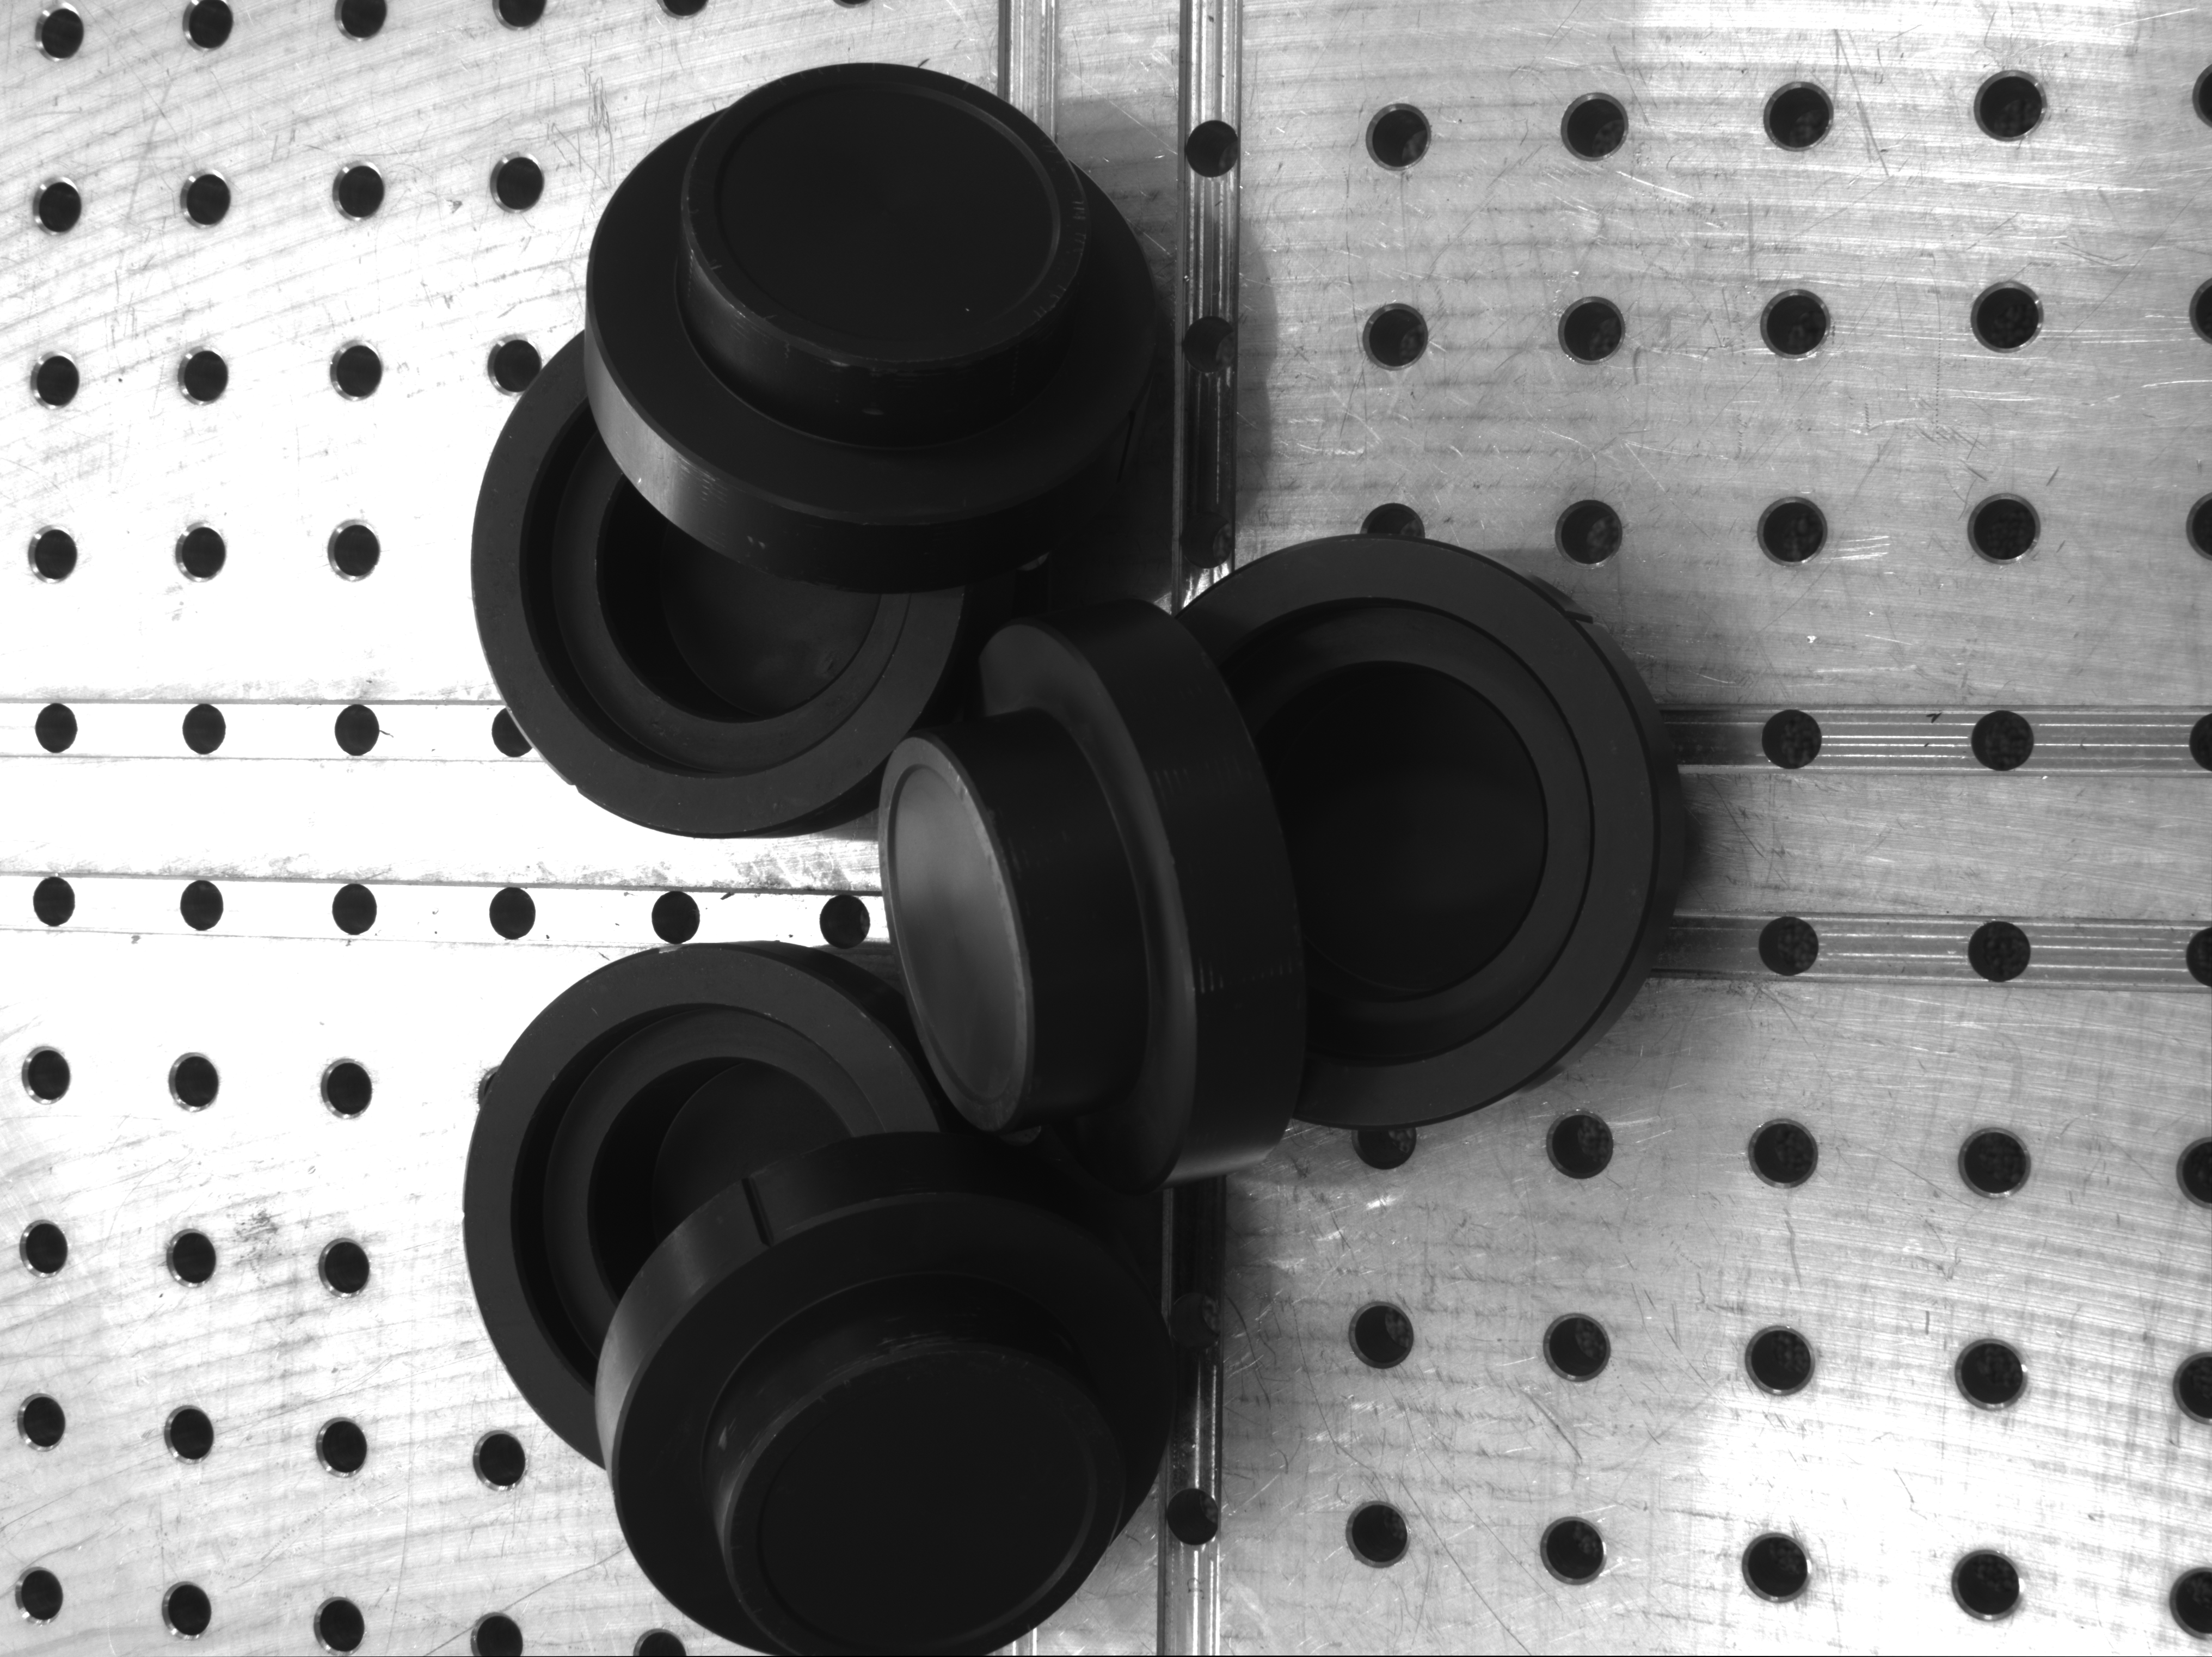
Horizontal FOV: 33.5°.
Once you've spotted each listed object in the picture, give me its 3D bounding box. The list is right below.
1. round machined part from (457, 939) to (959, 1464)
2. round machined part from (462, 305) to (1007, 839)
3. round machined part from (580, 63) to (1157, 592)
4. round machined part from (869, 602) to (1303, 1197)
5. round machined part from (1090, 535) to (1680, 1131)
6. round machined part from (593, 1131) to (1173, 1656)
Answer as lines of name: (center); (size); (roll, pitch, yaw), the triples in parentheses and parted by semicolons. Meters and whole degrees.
round machined part: (-0.064, 0.069, 0.663); (0.098, 0.042, 0.098); (0, 90, 20)
round machined part: (-0.063, -0.047, 0.662); (0.098, 0.042, 0.098); (0, 90, 20)
round machined part: (-0.039, -0.091, 0.625); (0.098, 0.042, 0.098); (5, 56, -7)
round machined part: (-0.008, 0.014, 0.611); (0.042, 0.098, 0.098); (-11, 85, -22)
round machined part: (0.049, 0.001, 0.622); (0.098, 0.042, 0.098); (0, 90, 20)
round machined part: (-0.035, 0.104, 0.623); (0.098, 0.042, 0.098); (-8, 119, -14)
